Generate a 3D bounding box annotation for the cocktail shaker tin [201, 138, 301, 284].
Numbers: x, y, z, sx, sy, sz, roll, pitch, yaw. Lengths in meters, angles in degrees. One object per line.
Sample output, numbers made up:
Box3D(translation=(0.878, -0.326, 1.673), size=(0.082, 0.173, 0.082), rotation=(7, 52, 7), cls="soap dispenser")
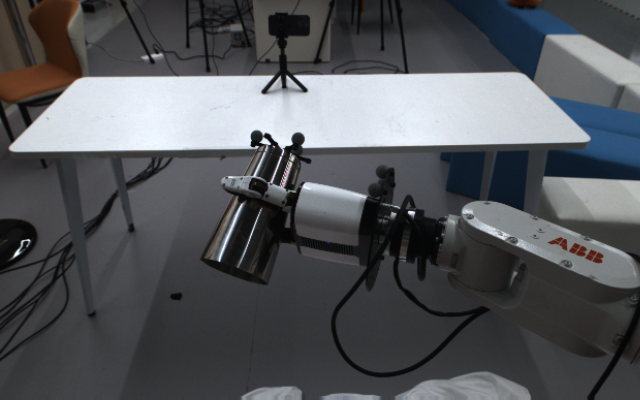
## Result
Box3D(translation=(-0.083, 0.016, 0.642), size=(0.093, 0.093, 0.170), rotation=(13, 70, 16), cls="cocktail shaker tin")
